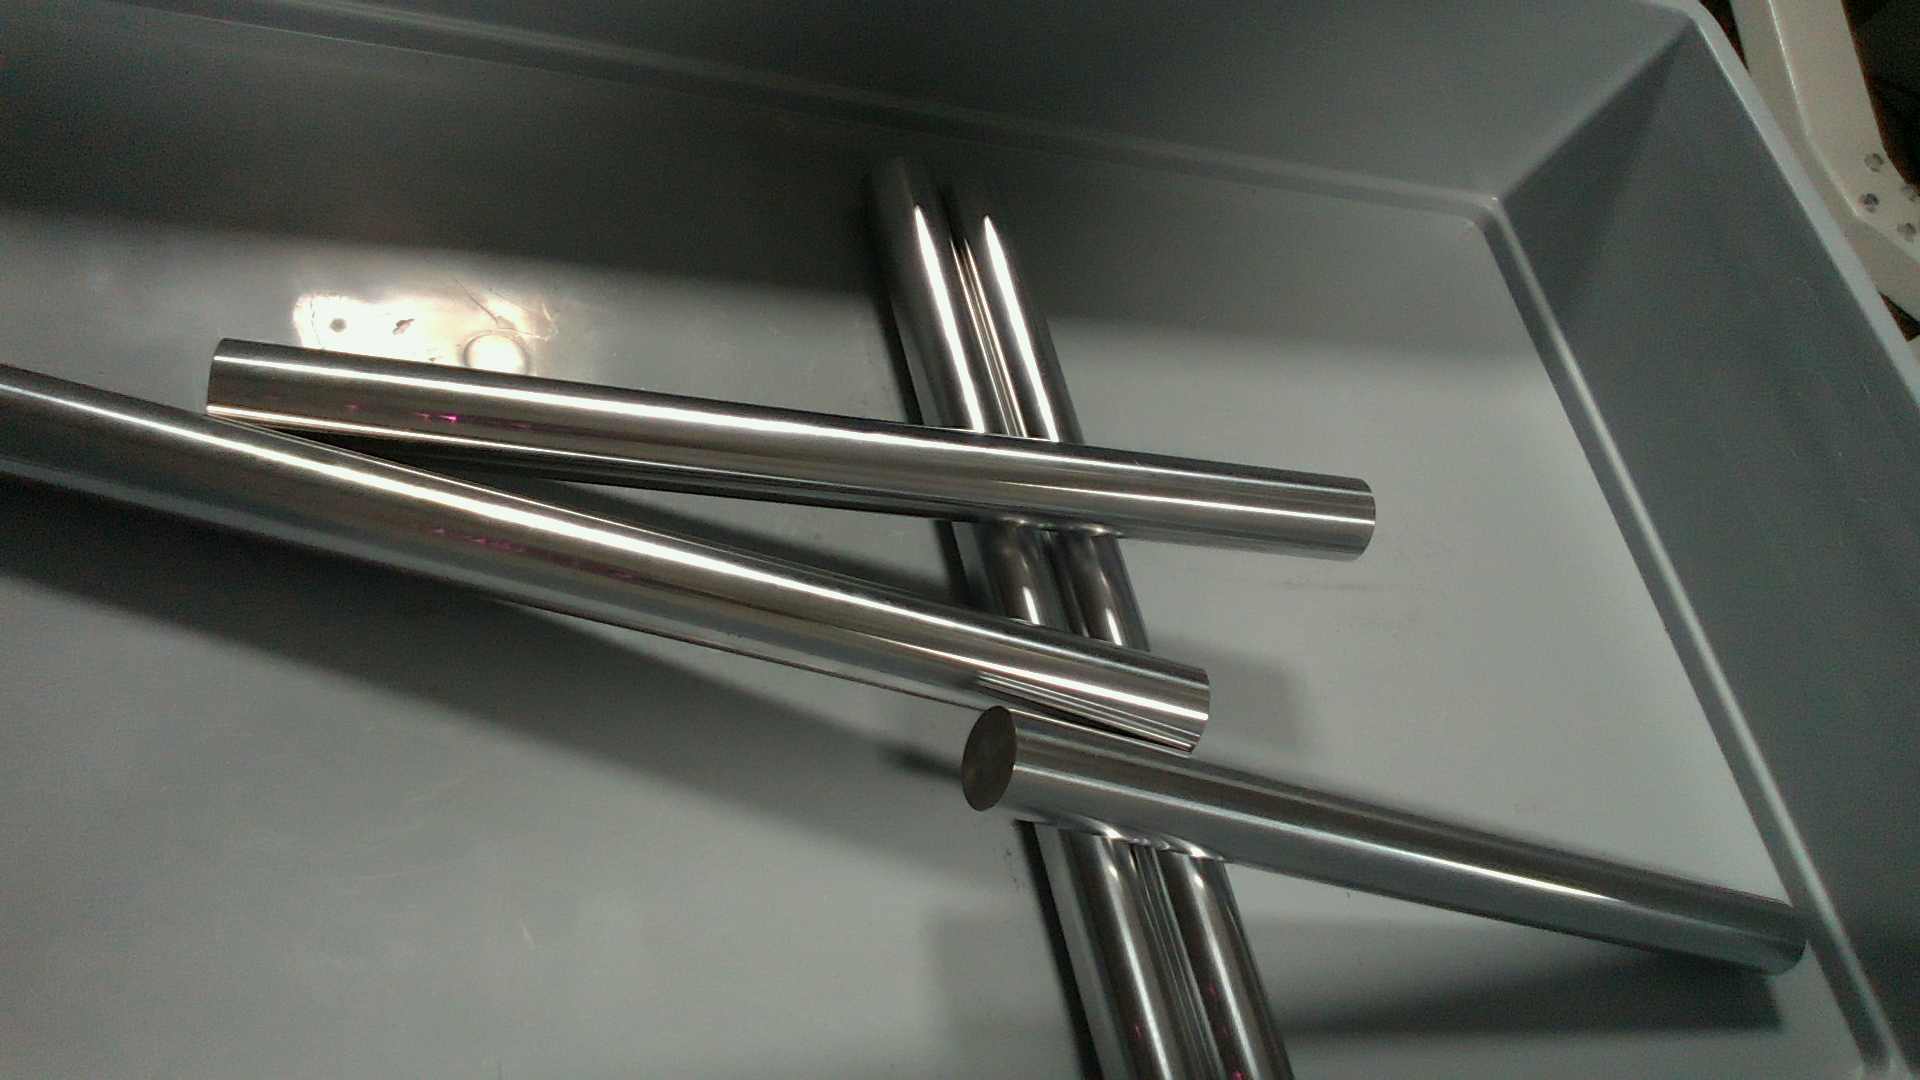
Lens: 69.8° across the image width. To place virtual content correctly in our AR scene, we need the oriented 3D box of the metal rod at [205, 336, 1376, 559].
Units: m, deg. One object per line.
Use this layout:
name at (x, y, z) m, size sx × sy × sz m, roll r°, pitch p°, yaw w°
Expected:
metal rod at (-0.028, -0.021, 0.361) m, size 0.301 × 0.025 × 0.025 m, roll 6°, pitch 59°, yaw -17°

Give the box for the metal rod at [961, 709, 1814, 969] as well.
metal rod at (0.137, 0.089, 0.385) m, size 0.301 × 0.025 × 0.025 m, roll 16°, pitch 55°, yaw -26°

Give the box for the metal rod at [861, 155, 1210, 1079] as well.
metal rod at (0.016, 0.016, 0.385) m, size 0.025 × 0.025 × 0.300 m, roll -1°, pitch 62°, yaw -29°

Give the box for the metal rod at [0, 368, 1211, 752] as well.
metal rod at (-0.082, 0.008, 0.323) m, size 0.301 × 0.025 × 0.025 m, roll 15°, pitch 55°, yaw -13°

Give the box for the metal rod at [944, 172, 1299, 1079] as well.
metal rod at (0.040, 0.018, 0.396) m, size 0.025 × 0.025 × 0.300 m, roll -1°, pitch 62°, yaw -29°
